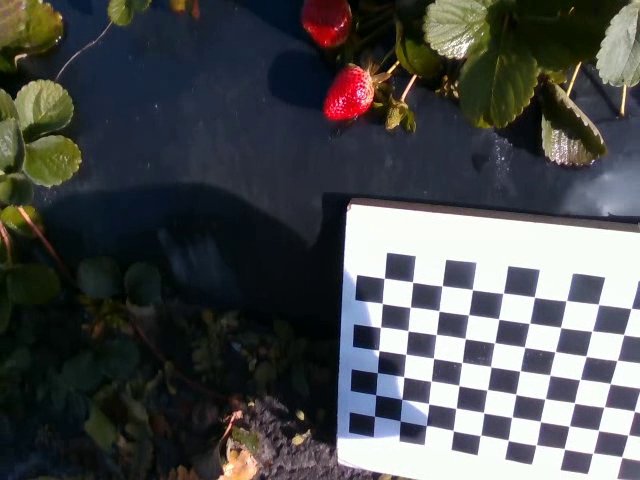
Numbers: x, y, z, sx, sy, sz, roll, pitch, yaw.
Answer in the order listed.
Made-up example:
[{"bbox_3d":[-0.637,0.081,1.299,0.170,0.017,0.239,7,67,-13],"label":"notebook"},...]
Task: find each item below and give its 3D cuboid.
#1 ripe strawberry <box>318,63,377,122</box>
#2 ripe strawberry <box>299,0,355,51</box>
[{"bbox_3d":[0.021,-0.119,0.500,0.053,0.043,0.039,-44,8,-18],"label":"ripe strawberry"},{"bbox_3d":[0.005,-0.185,0.517,0.054,0.048,0.039,14,23,-19],"label":"ripe strawberry"}]
